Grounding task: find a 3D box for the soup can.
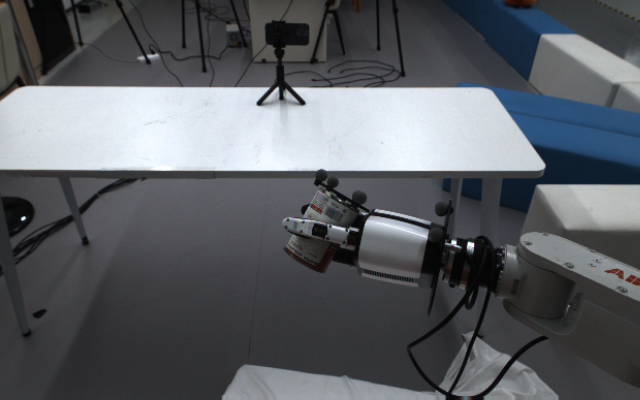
[{"bbox_3d":[0.004,0.043,0.680,0.067,0.101,0.067,30,2,-1],"label":"soup can"}]
